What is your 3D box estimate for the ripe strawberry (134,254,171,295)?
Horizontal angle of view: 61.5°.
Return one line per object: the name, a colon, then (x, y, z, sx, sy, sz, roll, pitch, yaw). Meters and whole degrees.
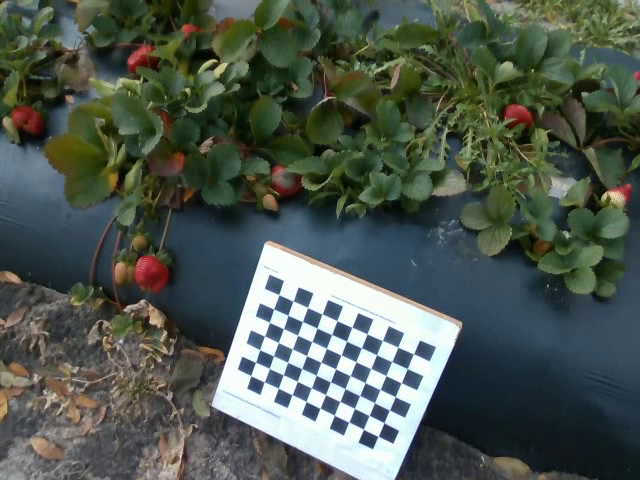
ripe strawberry: (-0.281, 0.058, 0.881, 0.066, 0.075, 0.053, 5, 13, 11)
